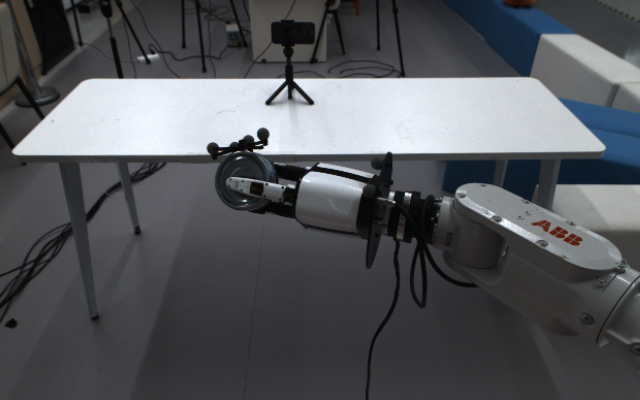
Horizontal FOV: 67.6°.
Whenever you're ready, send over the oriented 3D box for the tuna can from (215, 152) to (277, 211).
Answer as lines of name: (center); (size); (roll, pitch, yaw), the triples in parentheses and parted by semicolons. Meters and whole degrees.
tuna can: (-0.101, -0.021, 0.684); (0.085, 0.085, 0.034); (12, 3, 14)
